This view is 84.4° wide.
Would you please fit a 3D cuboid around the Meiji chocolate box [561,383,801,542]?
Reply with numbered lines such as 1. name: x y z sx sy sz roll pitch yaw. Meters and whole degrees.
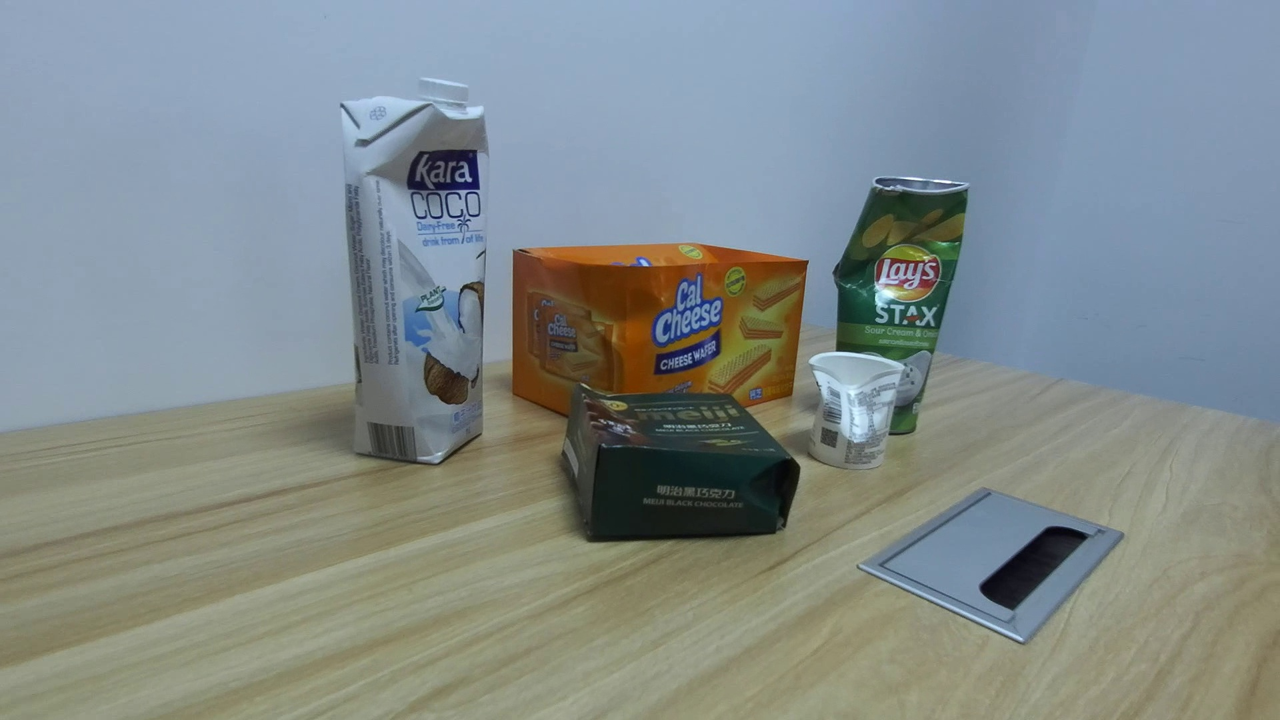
1. Meiji chocolate box: 0.020 0.058 0.422 0.116 0.058 0.122 3 15 -12

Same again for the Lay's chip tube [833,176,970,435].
1. Lay's chip tube: 0.205 -0.044 0.573 0.078 0.201 0.069 -13 22 -41

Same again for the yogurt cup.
1. yogurt cup: 0.150 0.036 0.506 0.067 0.070 0.067 2 13 0

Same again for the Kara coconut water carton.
1. Kara coconut water carton: -0.143 -0.056 0.461 0.069 0.238 0.115 8 15 12

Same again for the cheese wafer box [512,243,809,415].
1. cheese wafer box: 0.020 -0.028 0.618 0.231 0.132 0.151 -9 20 -43
